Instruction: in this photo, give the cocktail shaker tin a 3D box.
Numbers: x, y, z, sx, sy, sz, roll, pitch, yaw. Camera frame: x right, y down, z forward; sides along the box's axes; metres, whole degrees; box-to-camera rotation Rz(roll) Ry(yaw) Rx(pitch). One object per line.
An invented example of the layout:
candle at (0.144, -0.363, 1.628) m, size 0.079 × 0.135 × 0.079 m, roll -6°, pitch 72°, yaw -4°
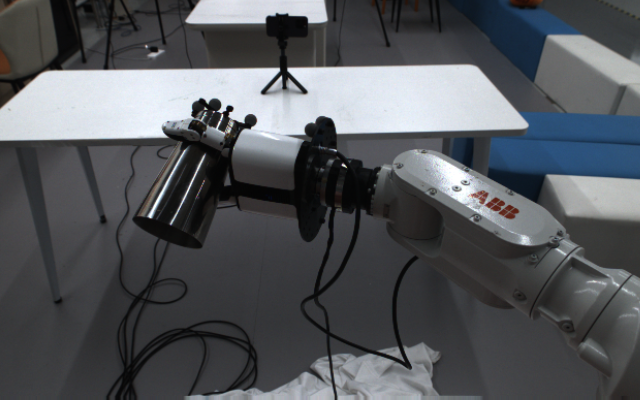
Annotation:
cocktail shaker tin at (-0.164, -0.034, 0.639) m, size 0.093 × 0.093 × 0.170 m, roll 12°, pitch 66°, yaw 14°
